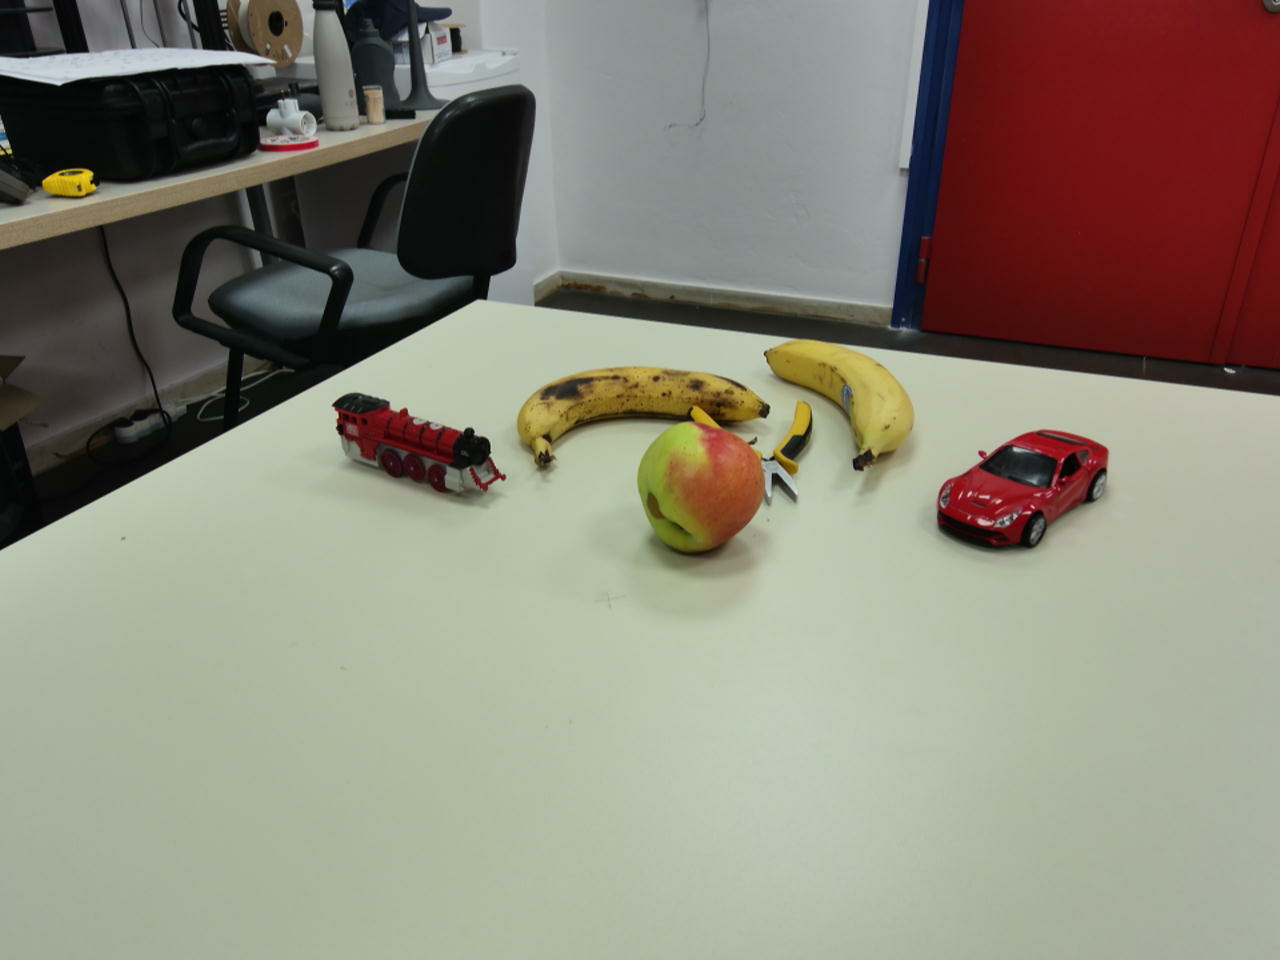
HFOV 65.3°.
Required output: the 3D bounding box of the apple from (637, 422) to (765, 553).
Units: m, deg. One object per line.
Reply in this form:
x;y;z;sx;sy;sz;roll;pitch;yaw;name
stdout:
0.035;0.004;0.591;0.075;0.074;0.075;1;25;4;apple
